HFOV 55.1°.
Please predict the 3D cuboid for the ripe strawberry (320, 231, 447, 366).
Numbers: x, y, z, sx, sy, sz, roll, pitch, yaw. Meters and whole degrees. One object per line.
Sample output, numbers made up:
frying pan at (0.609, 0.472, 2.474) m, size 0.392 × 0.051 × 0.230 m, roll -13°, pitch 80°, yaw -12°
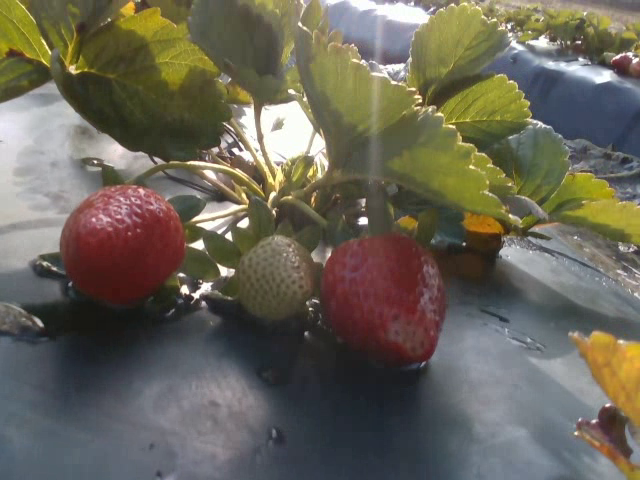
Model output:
ripe strawberry at (0.024, 0.021, 0.208) m, size 0.048 × 0.050 × 0.065 m, roll -28°, pitch 33°, yaw 8°
